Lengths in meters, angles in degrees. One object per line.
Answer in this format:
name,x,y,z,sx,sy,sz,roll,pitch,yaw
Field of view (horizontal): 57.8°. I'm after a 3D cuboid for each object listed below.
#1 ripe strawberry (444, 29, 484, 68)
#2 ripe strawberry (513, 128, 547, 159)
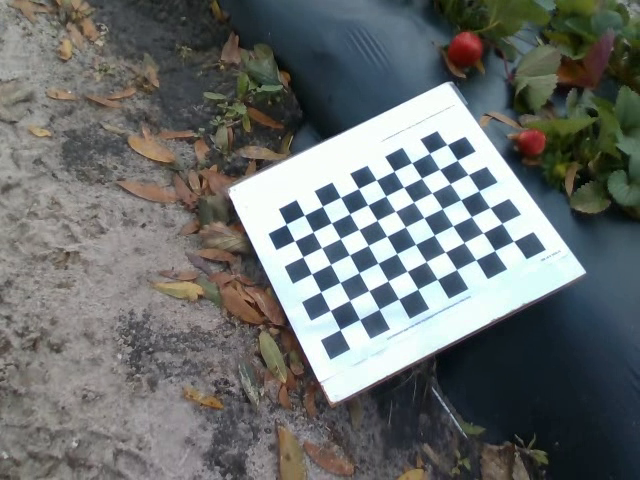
ripe strawberry,0.187,-0.244,0.735,0.046,0.043,0.065,-22,17,2
ripe strawberry,0.248,-0.114,0.677,0.042,0.041,0.037,6,-30,-43
